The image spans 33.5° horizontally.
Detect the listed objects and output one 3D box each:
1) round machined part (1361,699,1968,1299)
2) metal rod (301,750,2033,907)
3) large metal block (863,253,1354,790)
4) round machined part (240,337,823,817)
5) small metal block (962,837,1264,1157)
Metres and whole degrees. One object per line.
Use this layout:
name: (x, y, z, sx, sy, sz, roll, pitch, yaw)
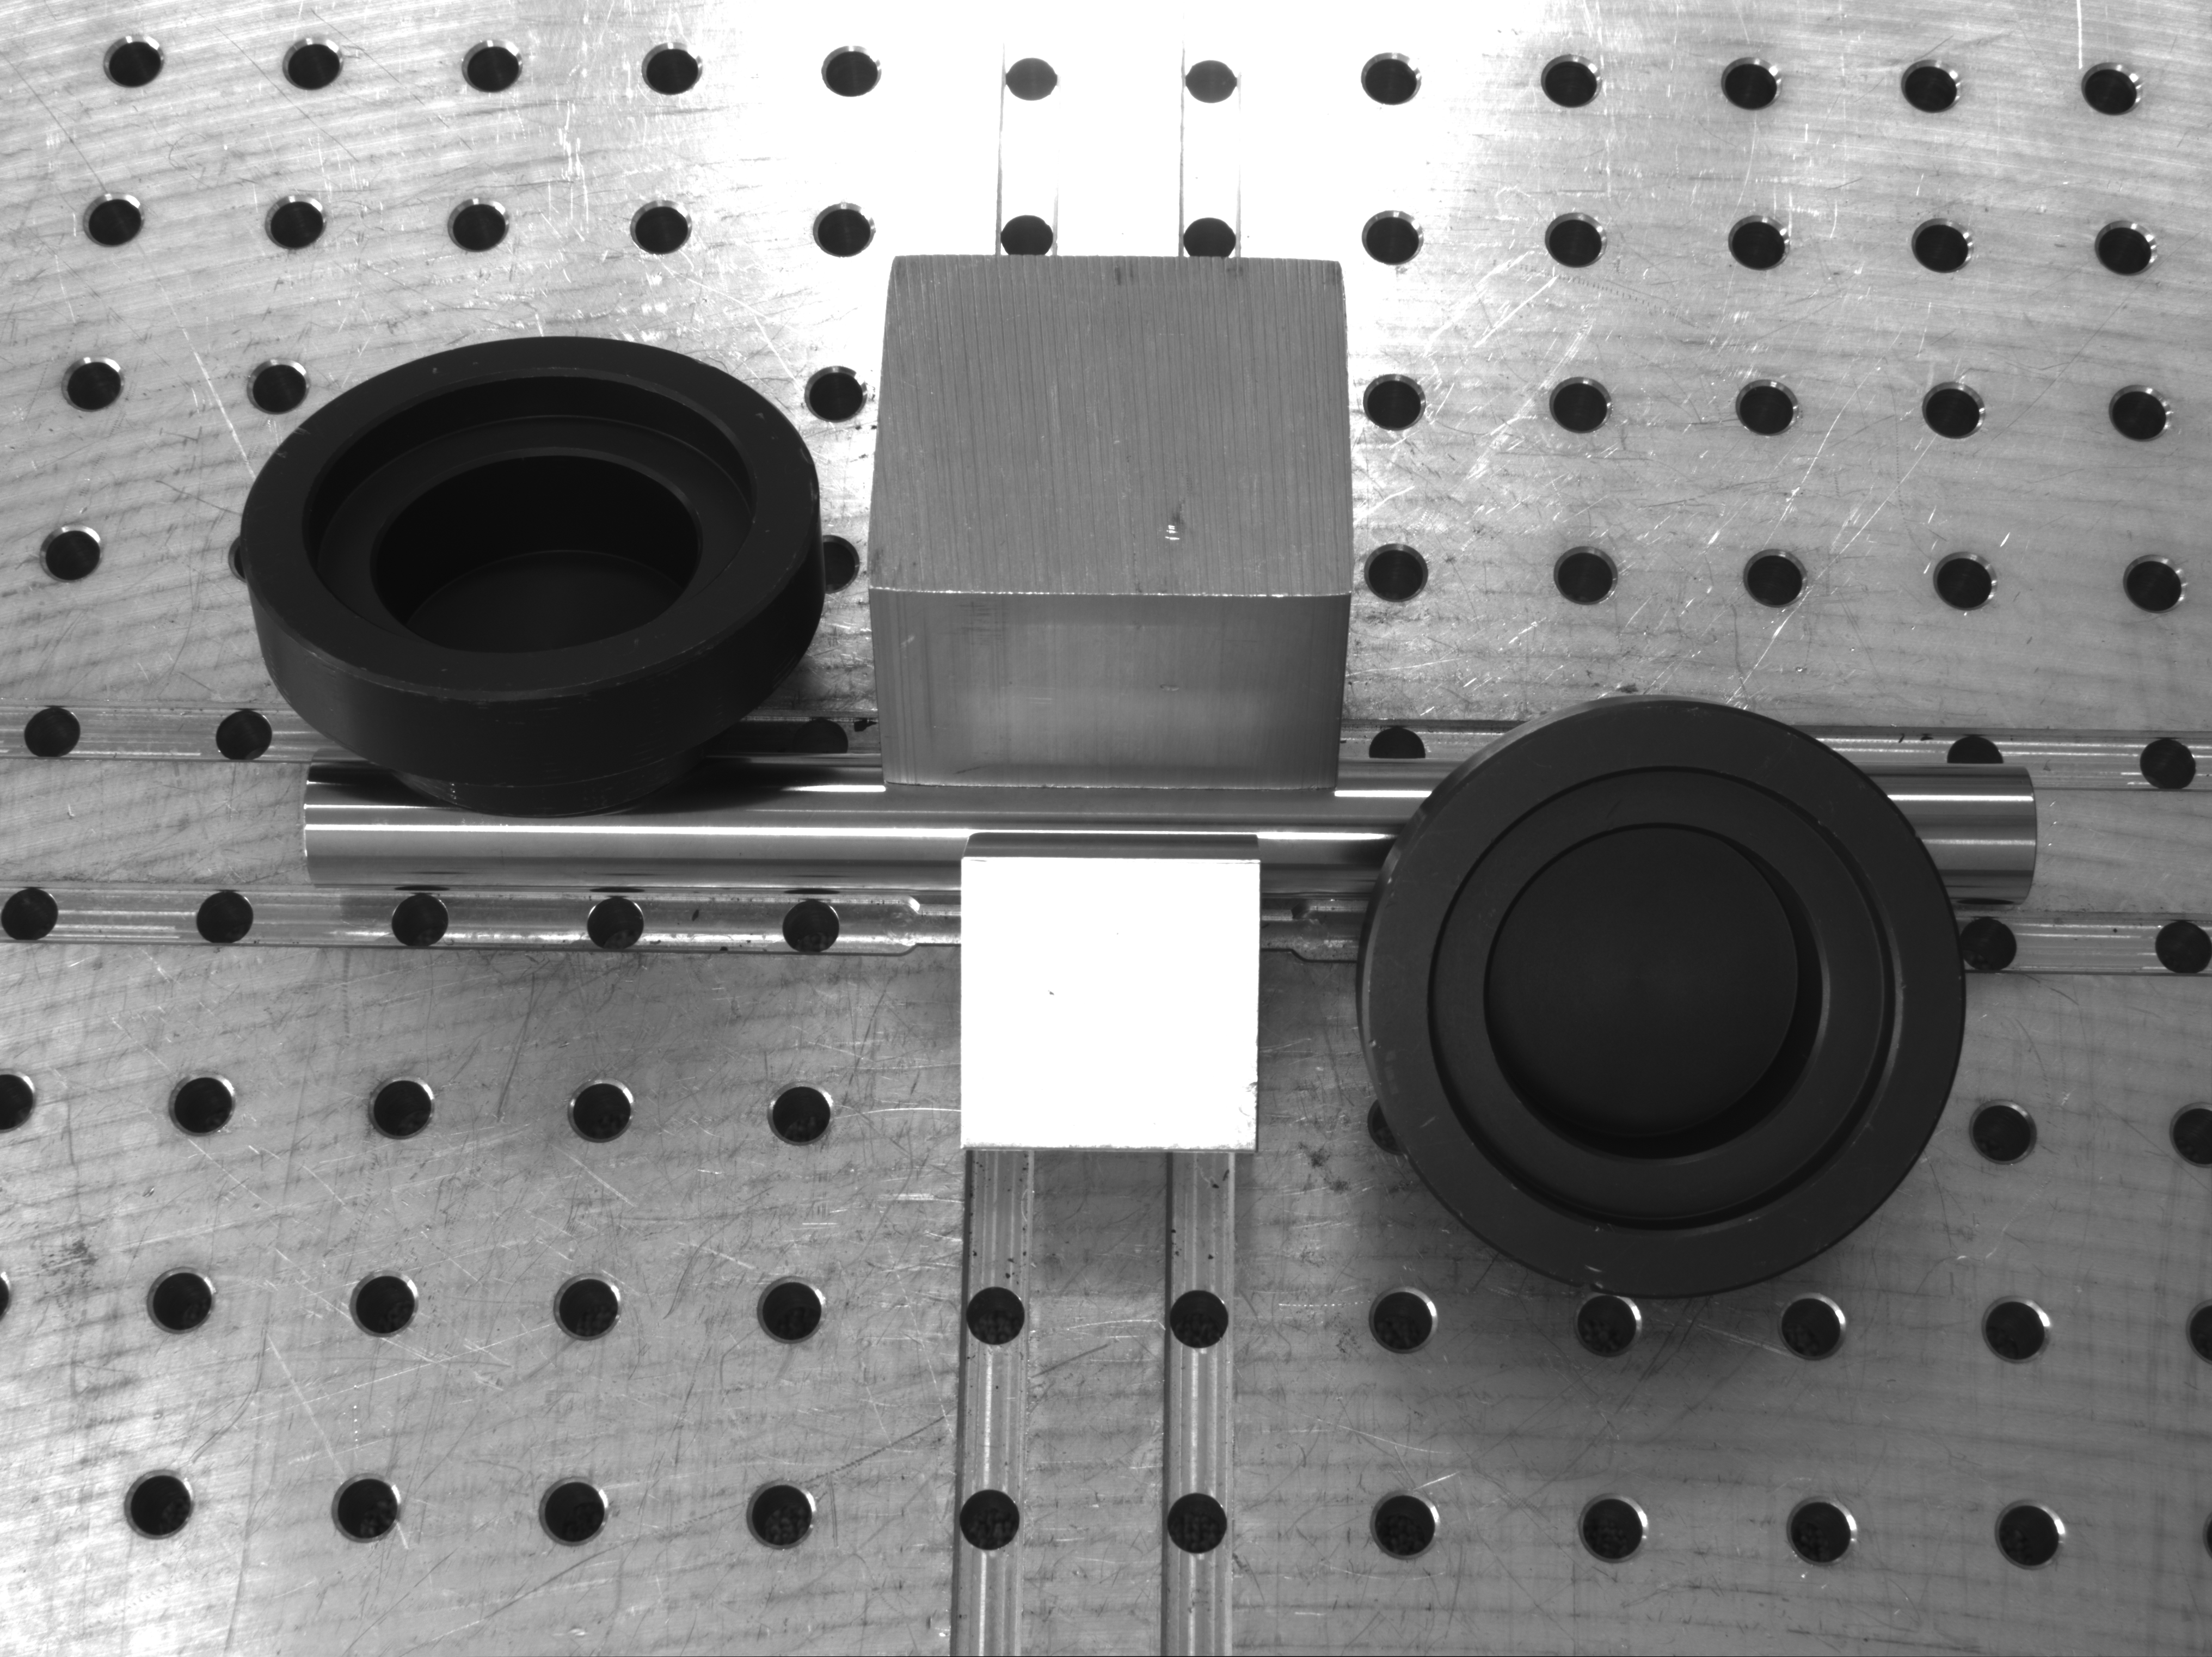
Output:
round machined part: (0.091, 0.026, 0.616, 0.098, 0.042, 0.098, 0, 95, 0)
metal rod: (0.011, 0.000, 0.649, 0.300, 0.025, 0.025, 1, 70, 0)
large metal block: (0.001, -0.054, 0.643, 0.080, 0.050, 0.080, 1, 52, 0)
round machined part: (-0.098, -0.040, 0.640, 0.098, 0.042, 0.098, 0, 44, 0)
small metal block: (0.001, 0.028, 0.627, 0.050, 0.025, 0.050, 1, 98, 0)
